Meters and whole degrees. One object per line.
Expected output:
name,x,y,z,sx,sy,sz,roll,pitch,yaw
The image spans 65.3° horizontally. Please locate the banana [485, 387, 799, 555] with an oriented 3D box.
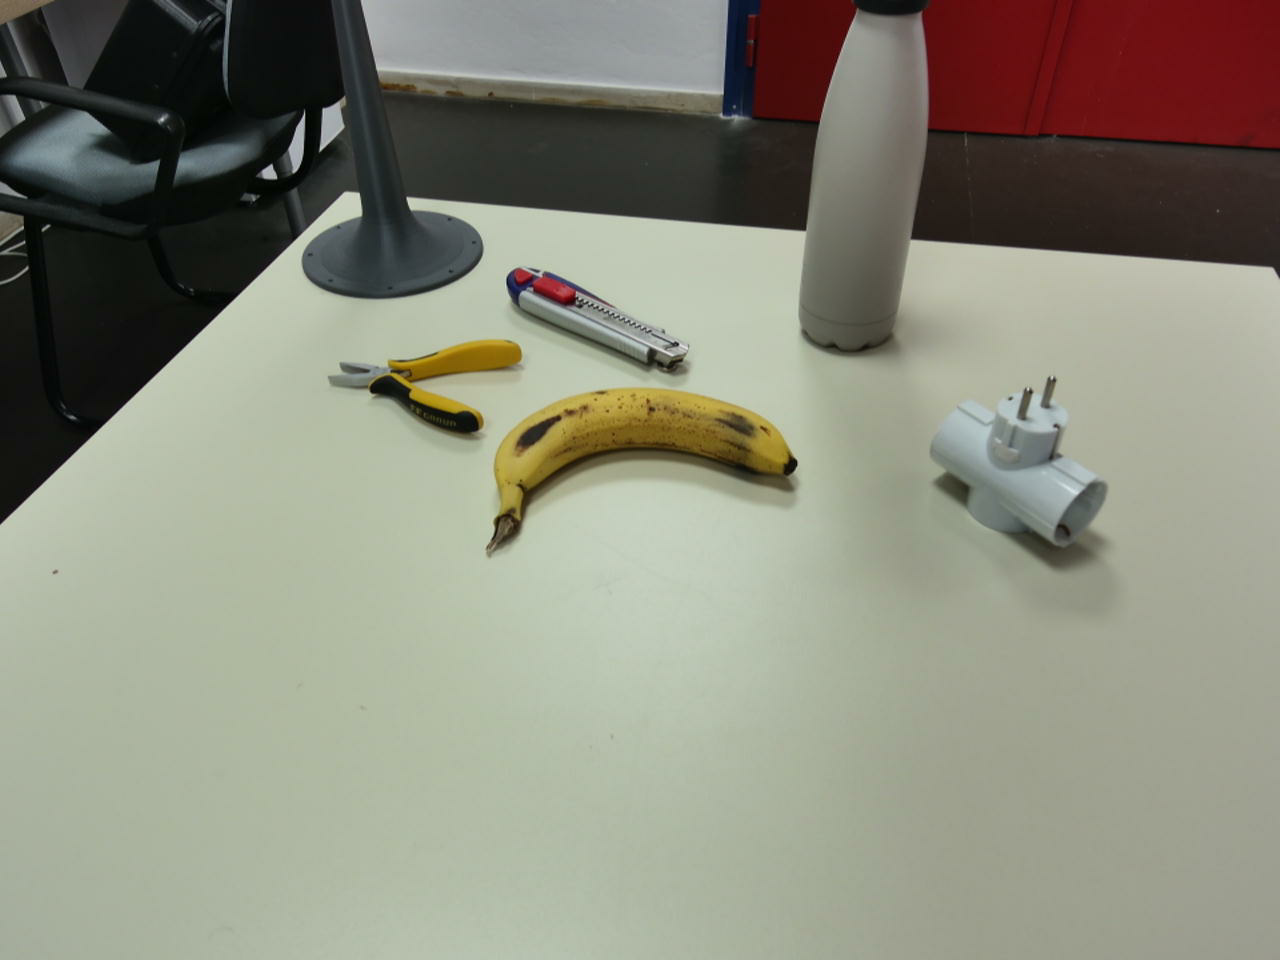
banana,-0.005,-0.020,0.615,0.186,0.038,0.097,-10,40,-12
